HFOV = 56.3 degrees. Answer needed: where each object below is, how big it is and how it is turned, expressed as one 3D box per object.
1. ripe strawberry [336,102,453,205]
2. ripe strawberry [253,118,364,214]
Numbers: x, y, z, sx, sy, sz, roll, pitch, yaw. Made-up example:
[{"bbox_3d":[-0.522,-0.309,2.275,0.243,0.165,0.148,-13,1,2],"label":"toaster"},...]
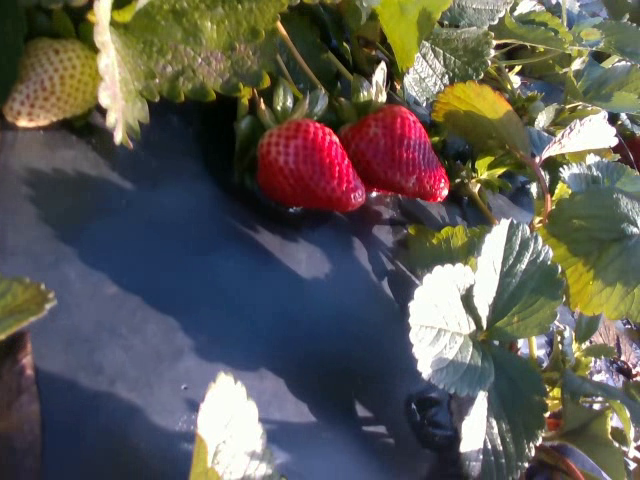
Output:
[{"bbox_3d":[0.037,-0.034,0.262,0.052,0.057,0.046,-38,-20,-25],"label":"ripe strawberry"},{"bbox_3d":[-0.001,-0.024,0.222,0.051,0.043,0.037,39,-21,14],"label":"ripe strawberry"}]
